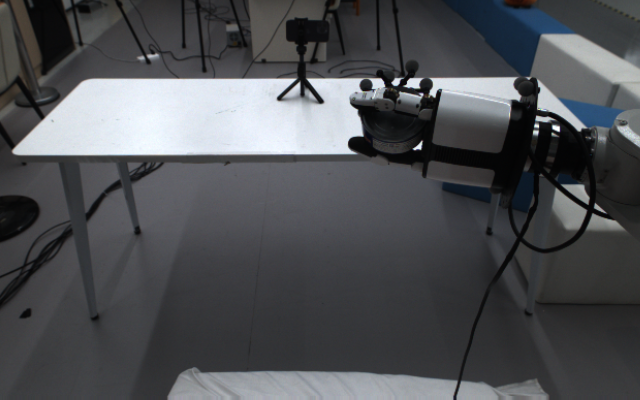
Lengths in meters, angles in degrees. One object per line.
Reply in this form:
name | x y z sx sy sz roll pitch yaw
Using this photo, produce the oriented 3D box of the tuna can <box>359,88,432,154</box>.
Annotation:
tuna can | 0.096 -0.104 0.625 0.085 0.034 0.085 -4 61 7
